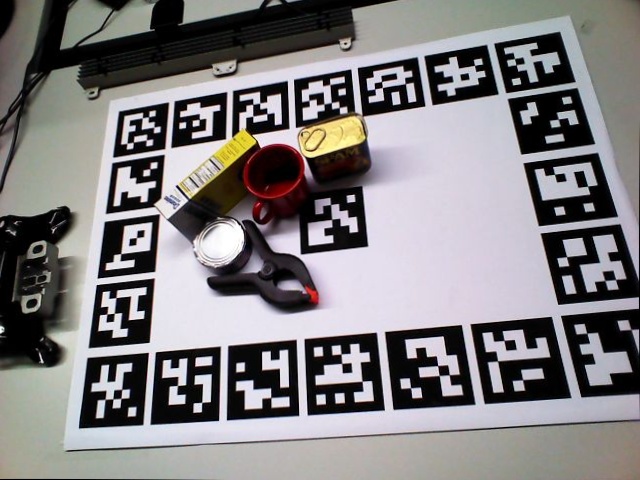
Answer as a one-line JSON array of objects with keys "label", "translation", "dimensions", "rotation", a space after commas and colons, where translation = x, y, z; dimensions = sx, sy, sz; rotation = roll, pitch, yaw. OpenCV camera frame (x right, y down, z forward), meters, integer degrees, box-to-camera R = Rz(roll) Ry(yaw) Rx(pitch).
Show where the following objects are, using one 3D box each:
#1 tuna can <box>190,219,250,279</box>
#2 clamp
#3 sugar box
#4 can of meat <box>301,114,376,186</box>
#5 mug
[{"label": "tuna can", "translation": [-0.149, 0.014, 0.778], "dimensions": [0.086, 0.034, 0.085], "rotation": [-4, 70, 11]}, {"label": "clamp", "translation": [-0.069, 0.057, 0.749], "dimensions": [0.165, 0.036, 0.121], "rotation": [28, 73, 17]}, {"label": "sugar box", "translation": [-0.156, -0.075, 0.789], "dimensions": [0.176, 0.093, 0.045], "rotation": [-42, 65, -7]}, {"label": "can of meat", "translation": [0.031, -0.131, 0.774], "dimensions": [0.102, 0.084, 0.057], "rotation": [-15, 65, 5]}, {"label": "mug", "translation": [-0.065, -0.074, 0.765], "dimensions": [0.093, 0.081, 0.116], "rotation": [17, 75, 18]}]
